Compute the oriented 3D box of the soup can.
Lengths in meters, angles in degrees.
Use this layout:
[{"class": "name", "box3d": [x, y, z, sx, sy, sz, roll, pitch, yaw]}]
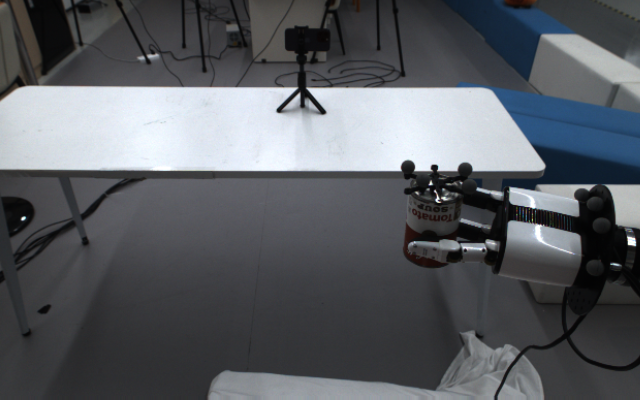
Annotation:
[{"class": "soup can", "box3d": [0.145, 0.024, 0.619, 0.067, 0.101, 0.067, -2, 34, 1]}]
